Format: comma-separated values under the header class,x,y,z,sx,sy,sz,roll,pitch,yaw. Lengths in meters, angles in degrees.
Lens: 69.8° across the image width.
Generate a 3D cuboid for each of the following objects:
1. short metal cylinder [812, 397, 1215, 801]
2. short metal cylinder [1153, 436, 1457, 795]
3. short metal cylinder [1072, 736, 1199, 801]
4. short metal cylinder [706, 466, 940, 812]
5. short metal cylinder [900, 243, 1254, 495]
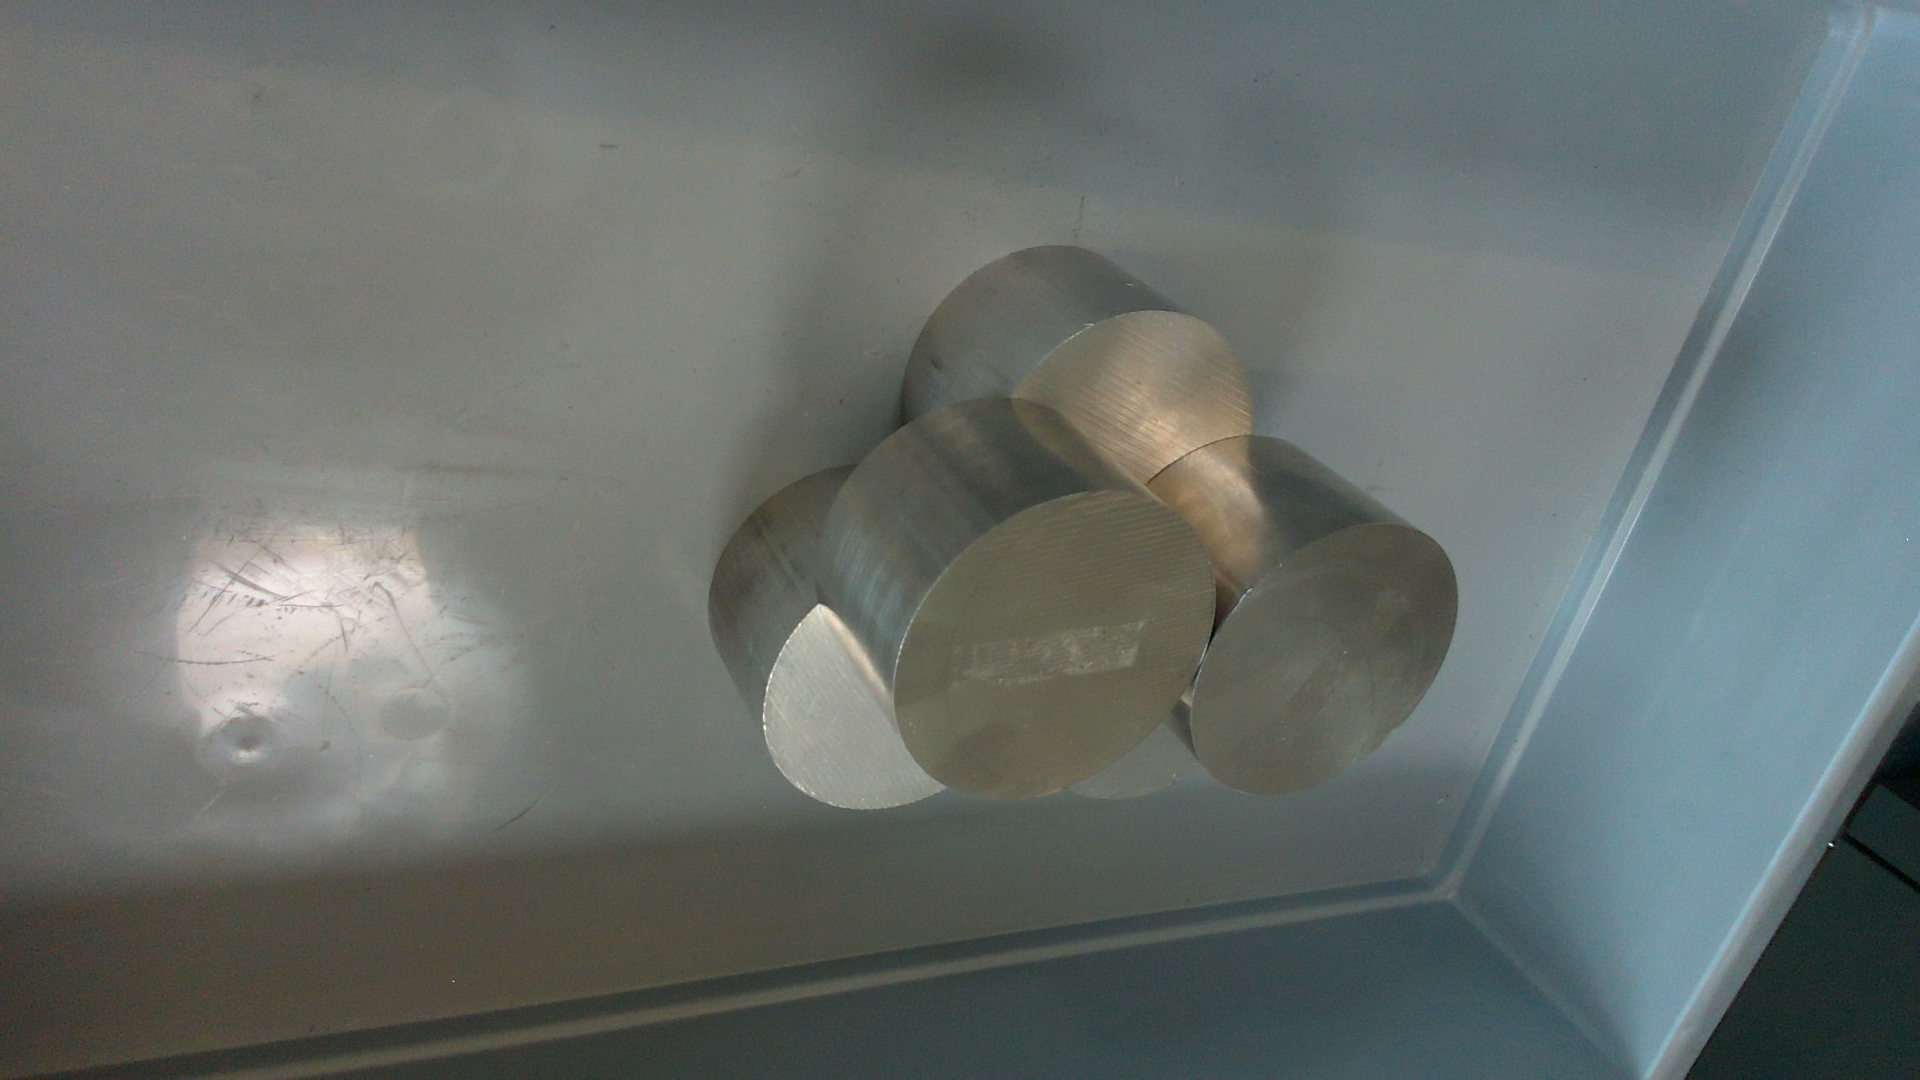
class,x,y,z,sx,sy,sz,roll,pitch,yaw
short metal cylinder,0.012,0.013,0.322,0.080,0.050,0.080,-14,124,-21
short metal cylinder,0.081,0.019,0.362,0.080,0.050,0.080,-14,124,-21
short metal cylinder,0.047,0.031,0.416,0.080,0.050,0.080,-14,124,-21
short metal cylinder,-0.024,0.026,0.375,0.080,0.050,0.080,-14,124,-21
short metal cylinder,0.031,-0.033,0.368,0.080,0.050,0.080,-14,124,-21
